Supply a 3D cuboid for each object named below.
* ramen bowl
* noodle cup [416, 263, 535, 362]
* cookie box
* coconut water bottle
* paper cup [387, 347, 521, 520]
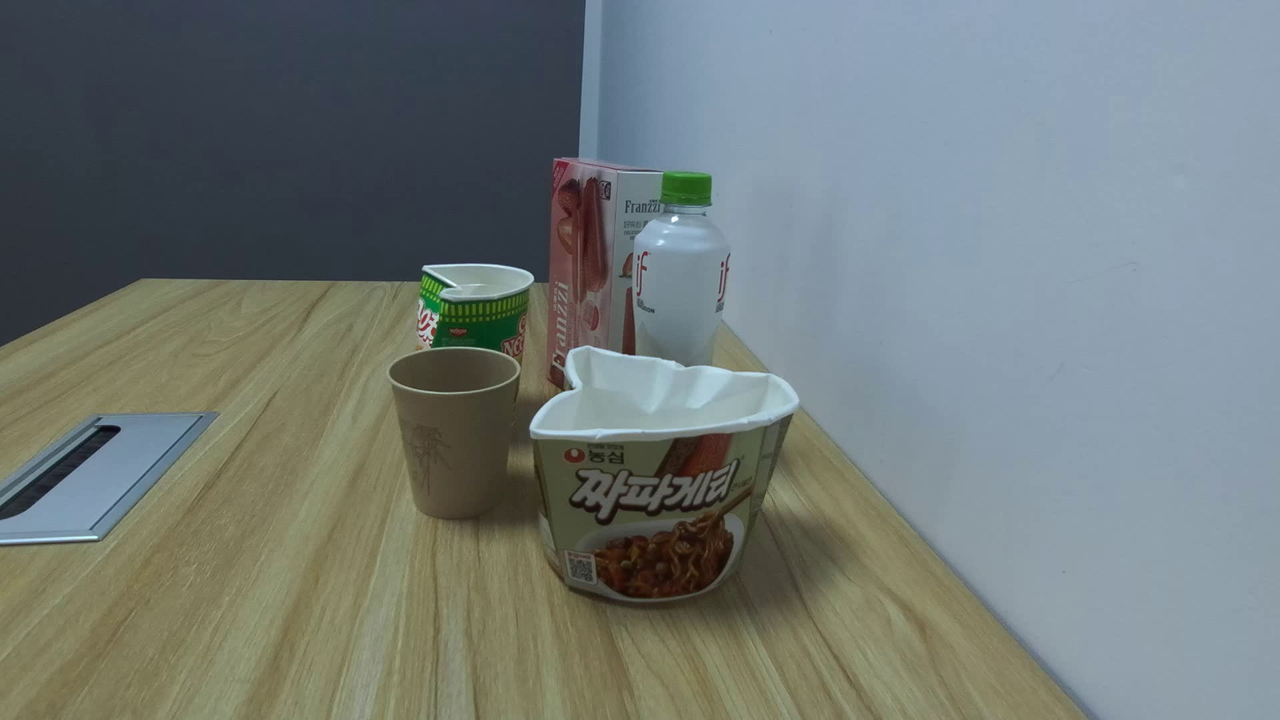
[{"bbox_3d":[0.014,0.056,0.374,0.134,0.097,0.113,3,21,-1],"label":"ramen bowl"},{"bbox_3d":[-0.119,-0.005,0.506,0.087,0.109,0.093,2,22,-2],"label":"noodle cup"},{"bbox_3d":[-0.028,-0.059,0.556,0.049,0.184,0.095,-8,22,-33],"label":"cookie box"},{"bbox_3d":[0.024,-0.024,0.460,0.063,0.188,0.063,2,16,0],"label":"coconut water bottle"},{"bbox_3d":[-0.106,0.043,0.413,0.075,0.082,0.075,3,21,-1],"label":"paper cup"}]
